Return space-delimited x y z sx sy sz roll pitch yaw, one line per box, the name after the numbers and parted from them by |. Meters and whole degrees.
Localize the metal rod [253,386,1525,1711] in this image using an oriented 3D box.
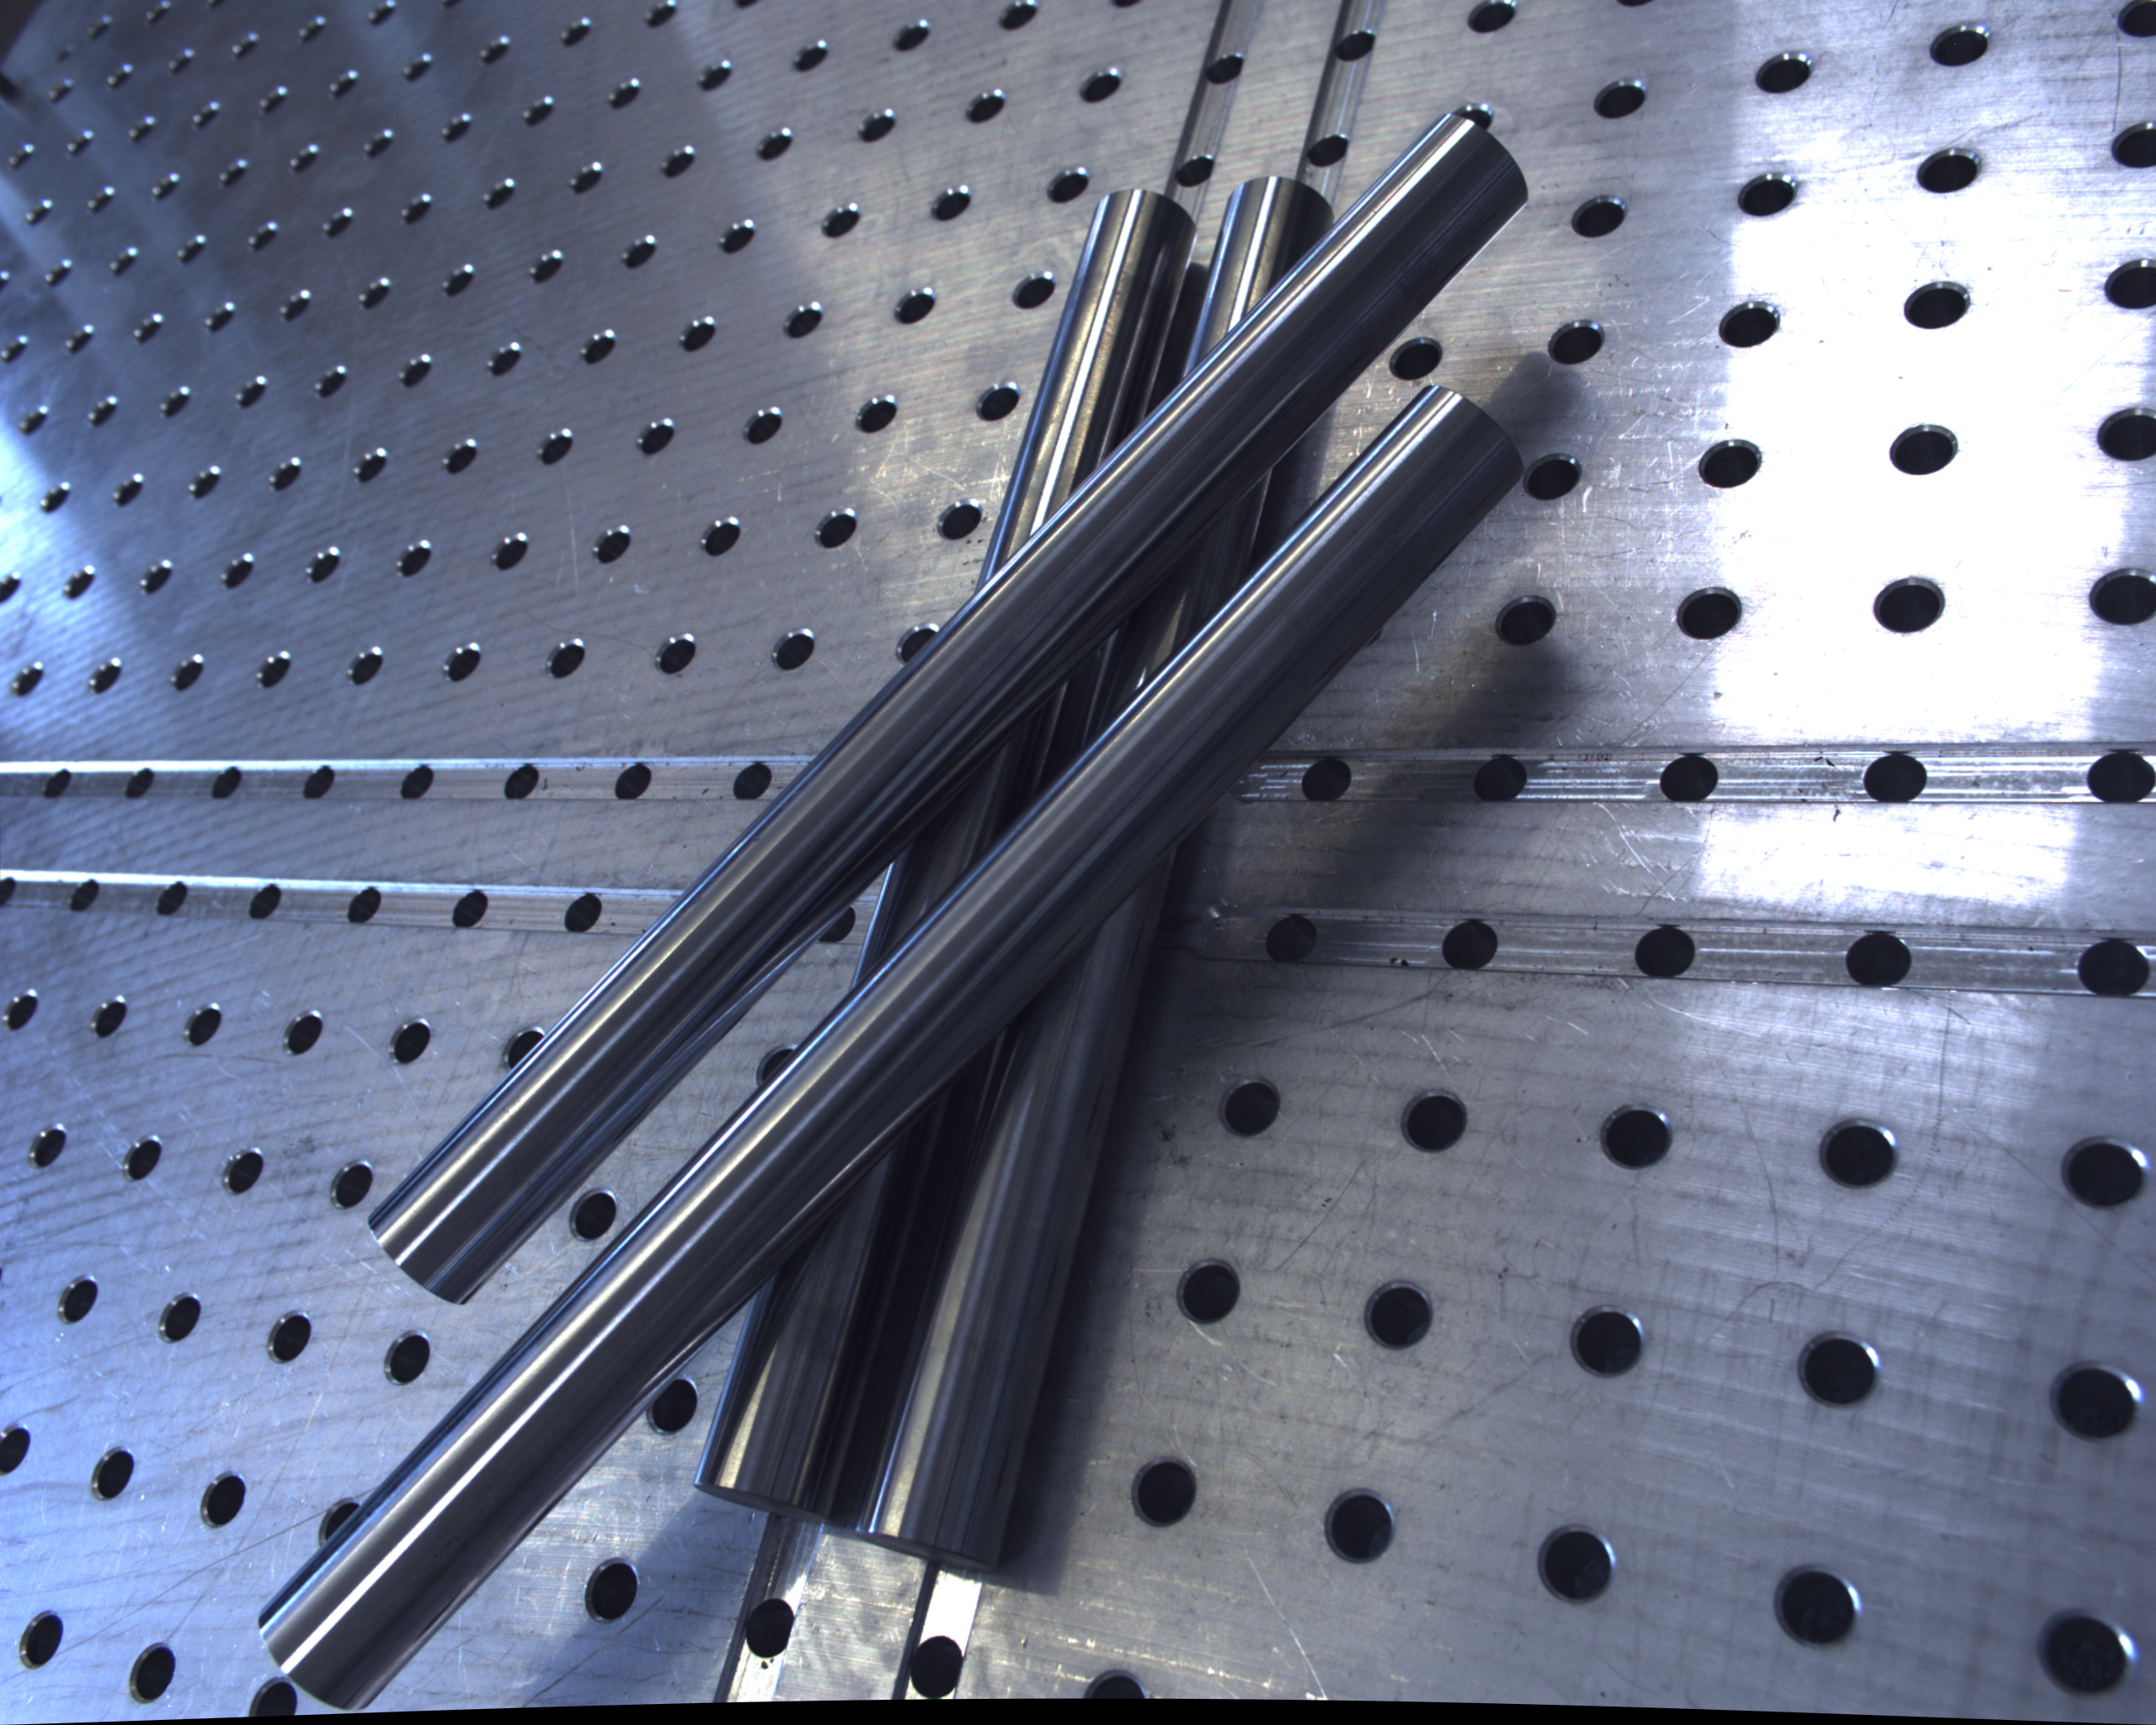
-0.030 0.029 0.375 0.300 0.025 0.025 -46 51 -5 | metal rod

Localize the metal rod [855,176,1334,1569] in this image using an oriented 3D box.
0.010 -0.016 0.414 0.025 0.025 0.300 1 62 29 | metal rod

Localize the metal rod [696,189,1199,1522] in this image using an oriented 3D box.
-0.020 -0.018 0.431 0.025 0.025 0.300 1 62 29 | metal rod

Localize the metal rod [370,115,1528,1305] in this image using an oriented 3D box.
-0.022 -0.033 0.410 0.300 0.025 0.025 -46 51 -5 | metal rod
